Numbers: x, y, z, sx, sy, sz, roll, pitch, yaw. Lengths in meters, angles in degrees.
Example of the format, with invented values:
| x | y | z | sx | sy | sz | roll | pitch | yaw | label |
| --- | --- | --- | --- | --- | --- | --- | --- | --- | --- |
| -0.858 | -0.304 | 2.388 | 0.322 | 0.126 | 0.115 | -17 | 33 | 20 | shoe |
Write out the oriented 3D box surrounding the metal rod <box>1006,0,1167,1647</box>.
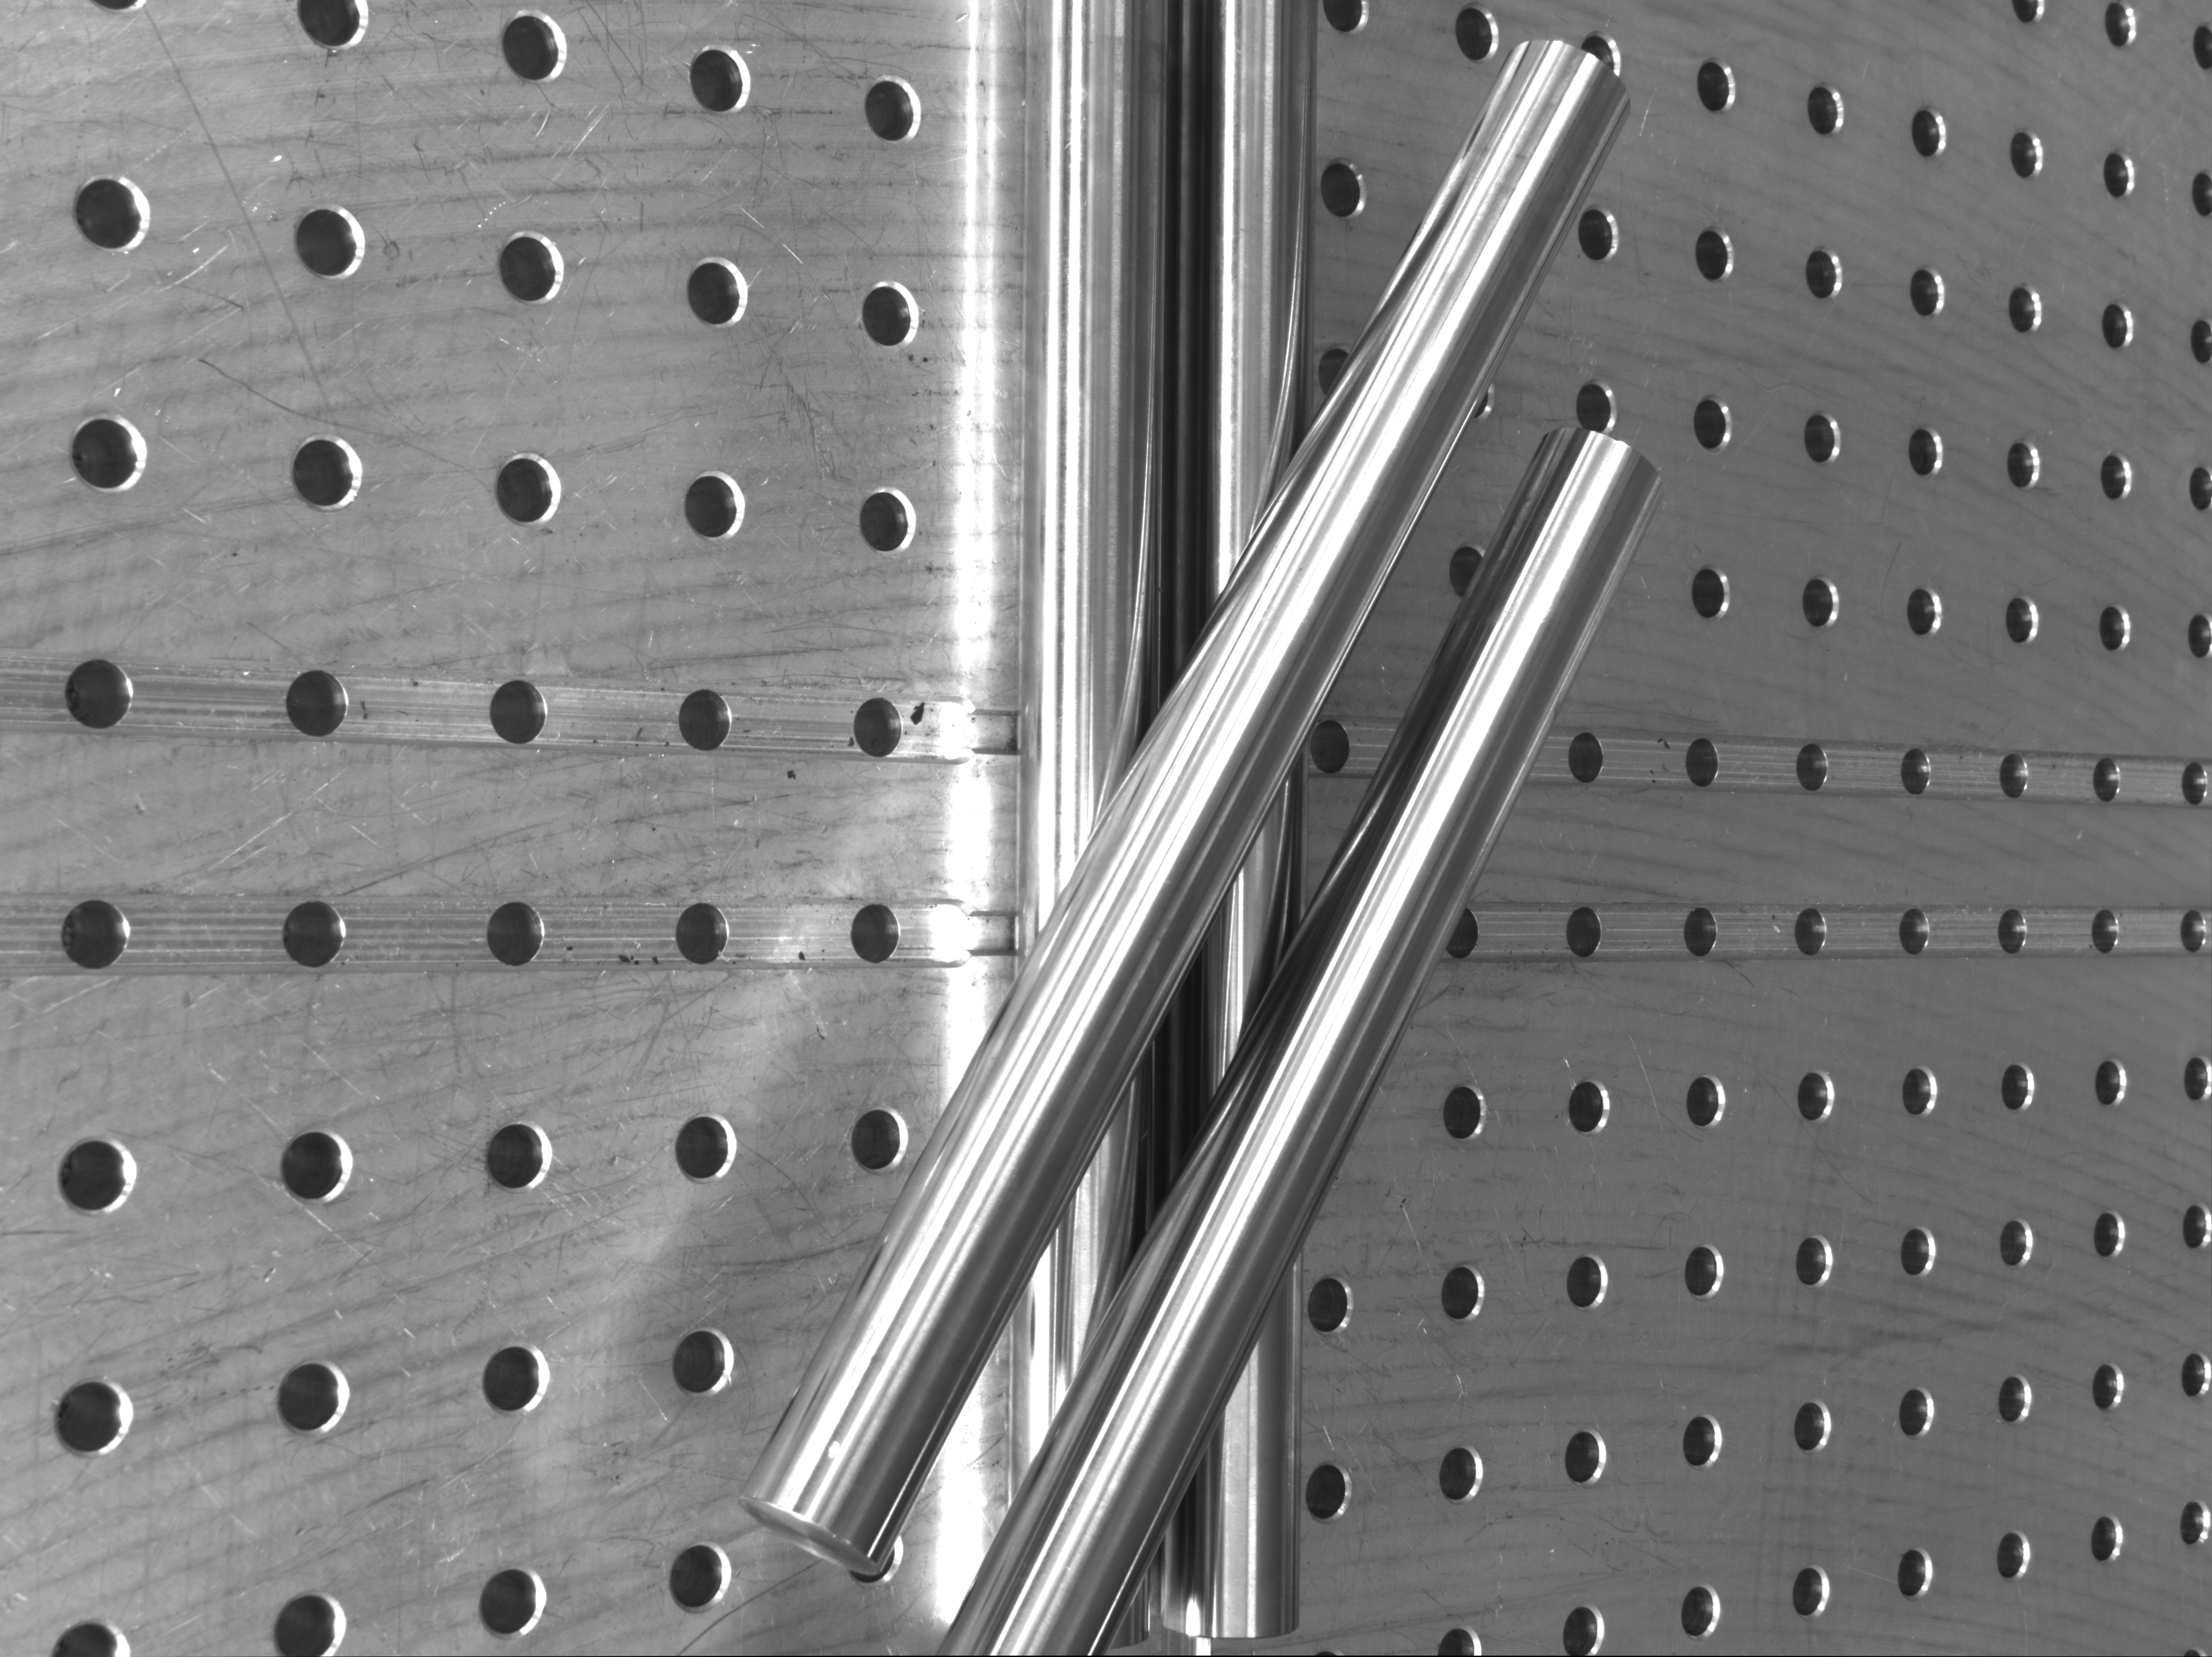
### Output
| x | y | z | sx | sy | sz | roll | pitch | yaw | label |
| --- | --- | --- | --- | --- | --- | --- | --- | --- | --- |
| -0.003 | -0.010 | 0.637 | 0.025 | 0.025 | 0.300 | 1 | 89 | -40 | metal rod |

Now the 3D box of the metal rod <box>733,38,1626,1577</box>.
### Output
| x | y | z | sx | sy | sz | roll | pitch | yaw | label |
| --- | --- | --- | --- | --- | --- | --- | --- | --- | --- |
| 0.019 | -0.014 | 0.623 | 0.025 | 0.025 | 0.300 | 42 | 65 | -32 | metal rod |

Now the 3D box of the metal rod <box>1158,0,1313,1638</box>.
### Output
| x | y | z | sx | sy | sz | roll | pitch | yaw | label |
| --- | --- | --- | --- | --- | --- | --- | --- | --- | --- |
| 0.023 | -0.008 | 0.659 | 0.025 | 0.025 | 0.300 | 1 | 89 | -40 | metal rod |

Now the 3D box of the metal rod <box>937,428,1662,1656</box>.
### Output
| x | y | z | sx | sy | sz | roll | pitch | yaw | label |
| --- | --- | --- | --- | --- | --- | --- | --- | --- | --- |
| 0.027 | 0.057 | 0.629 | 0.025 | 0.025 | 0.300 | 42 | 65 | -32 | metal rod |
